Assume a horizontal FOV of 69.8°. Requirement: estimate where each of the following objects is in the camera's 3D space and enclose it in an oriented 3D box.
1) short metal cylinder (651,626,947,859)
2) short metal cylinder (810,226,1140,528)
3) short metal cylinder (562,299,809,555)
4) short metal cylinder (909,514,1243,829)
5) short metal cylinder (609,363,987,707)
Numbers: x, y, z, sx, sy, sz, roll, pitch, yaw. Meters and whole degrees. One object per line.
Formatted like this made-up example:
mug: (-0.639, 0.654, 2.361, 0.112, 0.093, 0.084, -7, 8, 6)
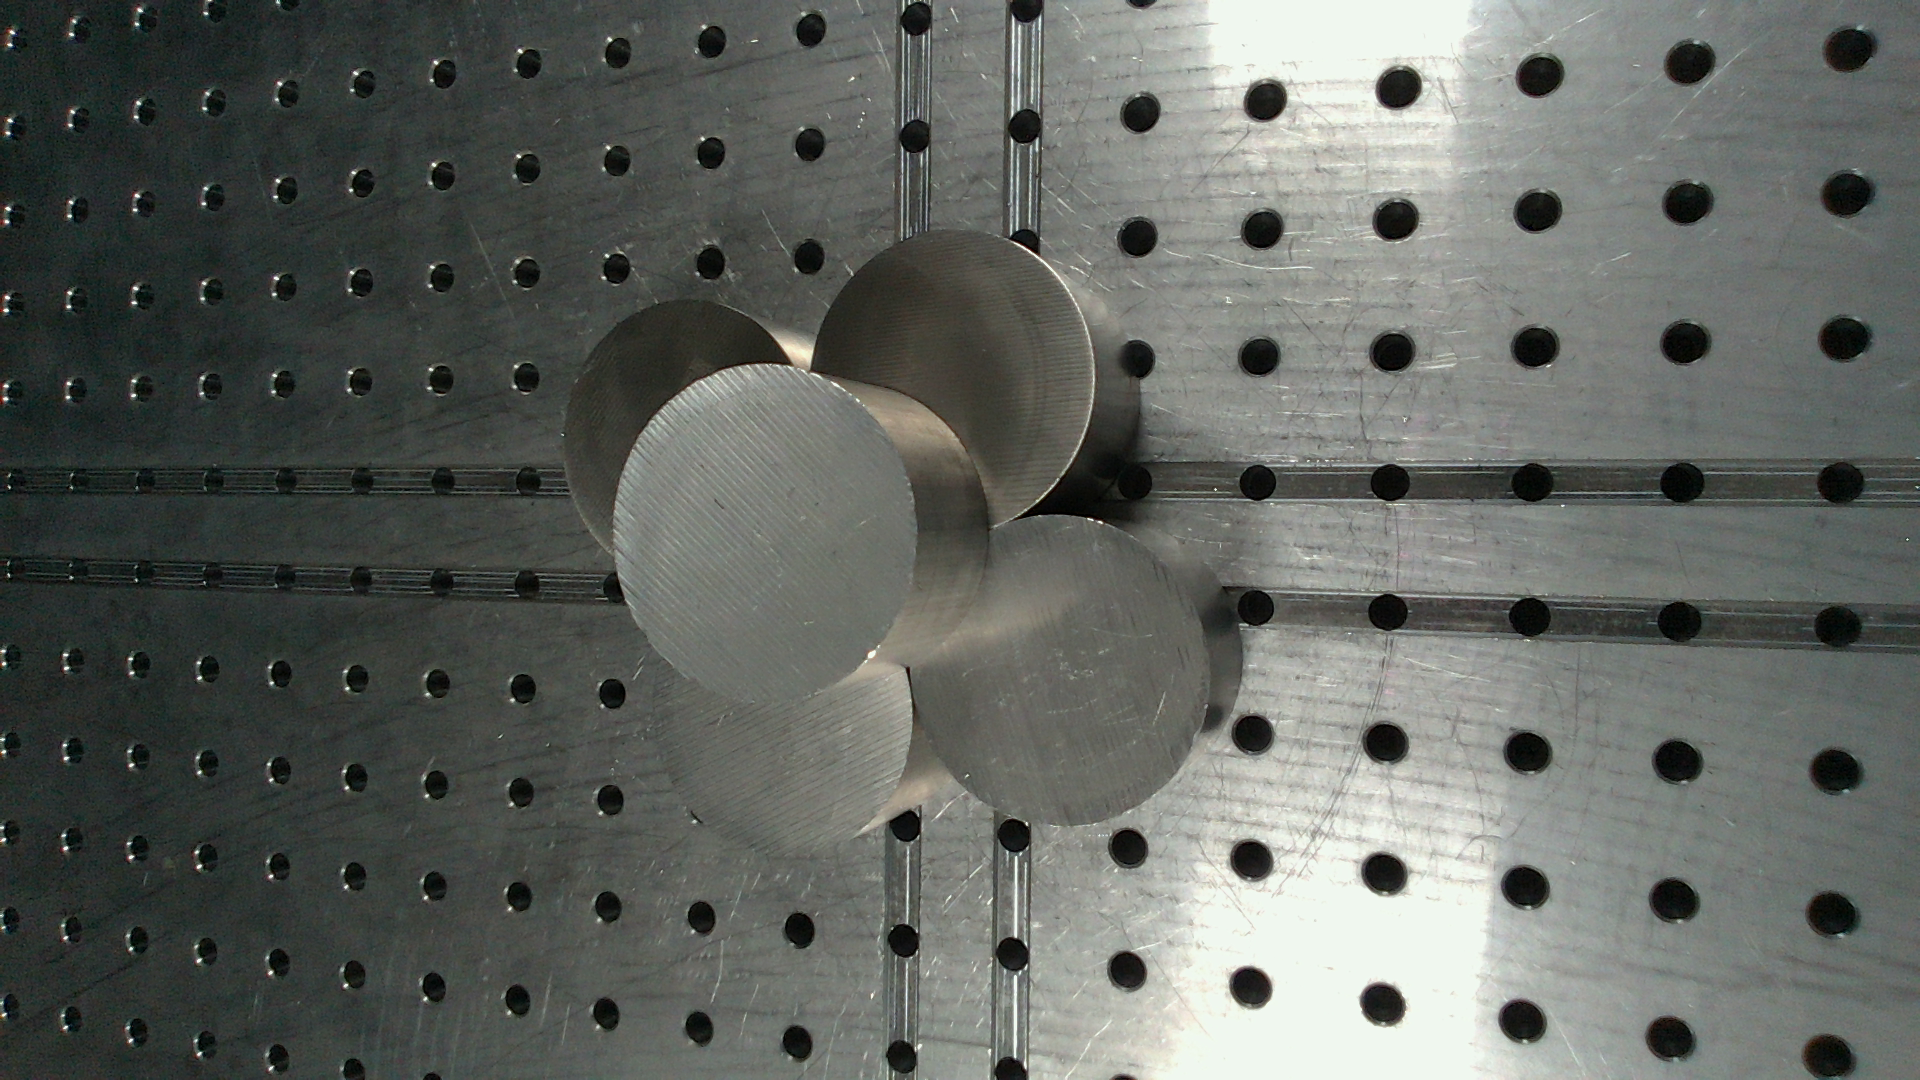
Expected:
short metal cylinder: (-0.041, 0.047, 0.399, 0.080, 0.050, 0.080, 0, 90, 20)
short metal cylinder: (0.005, -0.042, 0.382, 0.080, 0.050, 0.080, 0, 90, 20)
short metal cylinder: (-0.069, -0.028, 0.409, 0.080, 0.050, 0.080, 0, 90, 20)
short metal cylinder: (0.033, 0.033, 0.373, 0.080, 0.050, 0.080, 0, 90, 20)
short metal cylinder: (-0.039, -0.002, 0.344, 0.080, 0.050, 0.080, 1, 92, 19)
